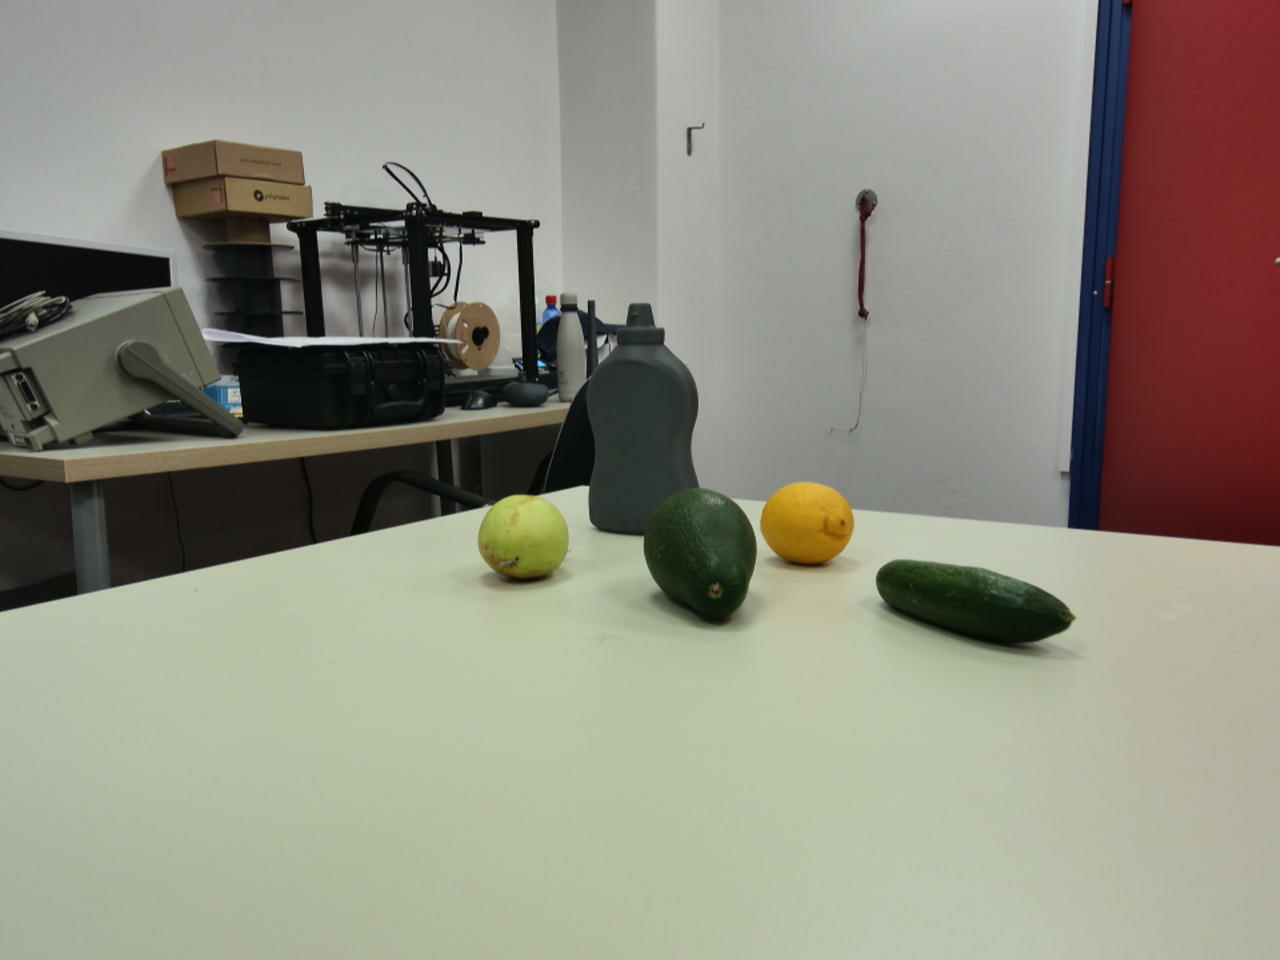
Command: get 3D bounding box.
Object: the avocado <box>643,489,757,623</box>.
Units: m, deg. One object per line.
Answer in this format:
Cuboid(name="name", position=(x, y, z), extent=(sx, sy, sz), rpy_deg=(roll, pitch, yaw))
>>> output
Cuboid(name="avocado", position=(0.036, 0.042, 0.615), extent=(0.073, 0.071, 0.109), rpy_deg=(2, 7, 12))
